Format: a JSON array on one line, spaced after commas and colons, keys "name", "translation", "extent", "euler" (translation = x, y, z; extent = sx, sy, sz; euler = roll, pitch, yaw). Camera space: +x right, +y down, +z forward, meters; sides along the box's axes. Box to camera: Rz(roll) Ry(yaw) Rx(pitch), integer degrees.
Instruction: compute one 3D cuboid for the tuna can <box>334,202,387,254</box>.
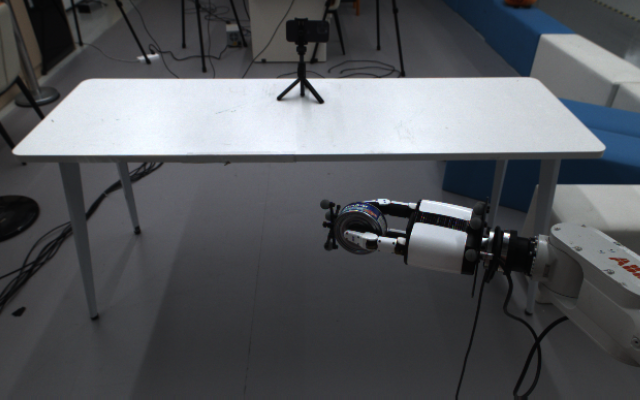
[{"name": "tuna can", "translation": [0.069, 0.048, 0.803], "extent": [0.085, 0.085, 0.034], "euler": [12, 27, 14]}]
